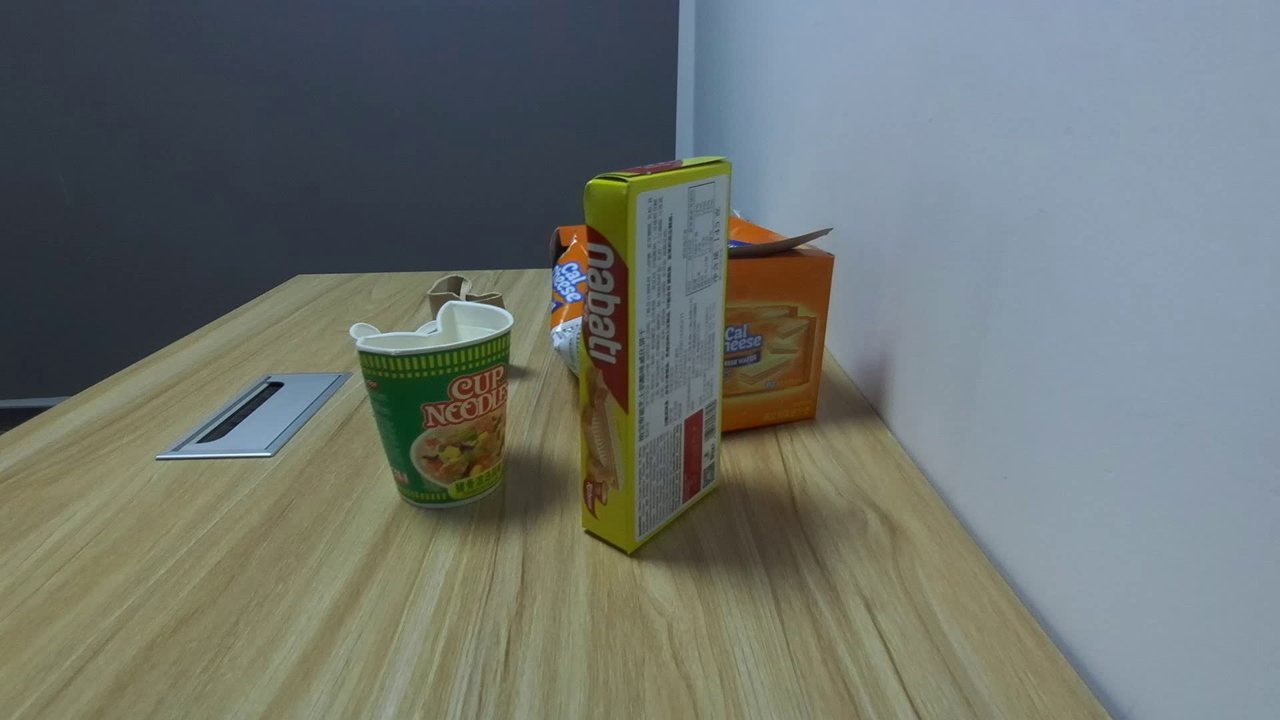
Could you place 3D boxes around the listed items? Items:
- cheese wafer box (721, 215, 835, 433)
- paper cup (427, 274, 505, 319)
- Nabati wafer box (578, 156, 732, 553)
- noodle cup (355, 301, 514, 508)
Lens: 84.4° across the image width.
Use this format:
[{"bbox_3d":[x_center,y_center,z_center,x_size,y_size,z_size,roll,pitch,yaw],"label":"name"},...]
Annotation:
[{"bbox_3d":[0.027,-0.044,0.592,0.192,0.145,0.218,-7,20,-16],"label":"cheese wafer box"},{"bbox_3d":[-0.153,-0.032,0.650,0.058,0.083,0.066,1,24,1],"label":"paper cup"},{"bbox_3d":[0.009,-0.003,0.391,0.042,0.203,0.097,18,30,36],"label":"Nabati wafer box"},{"bbox_3d":[-0.123,0.029,0.443,0.086,0.109,0.094,18,29,39],"label":"noodle cup"}]
